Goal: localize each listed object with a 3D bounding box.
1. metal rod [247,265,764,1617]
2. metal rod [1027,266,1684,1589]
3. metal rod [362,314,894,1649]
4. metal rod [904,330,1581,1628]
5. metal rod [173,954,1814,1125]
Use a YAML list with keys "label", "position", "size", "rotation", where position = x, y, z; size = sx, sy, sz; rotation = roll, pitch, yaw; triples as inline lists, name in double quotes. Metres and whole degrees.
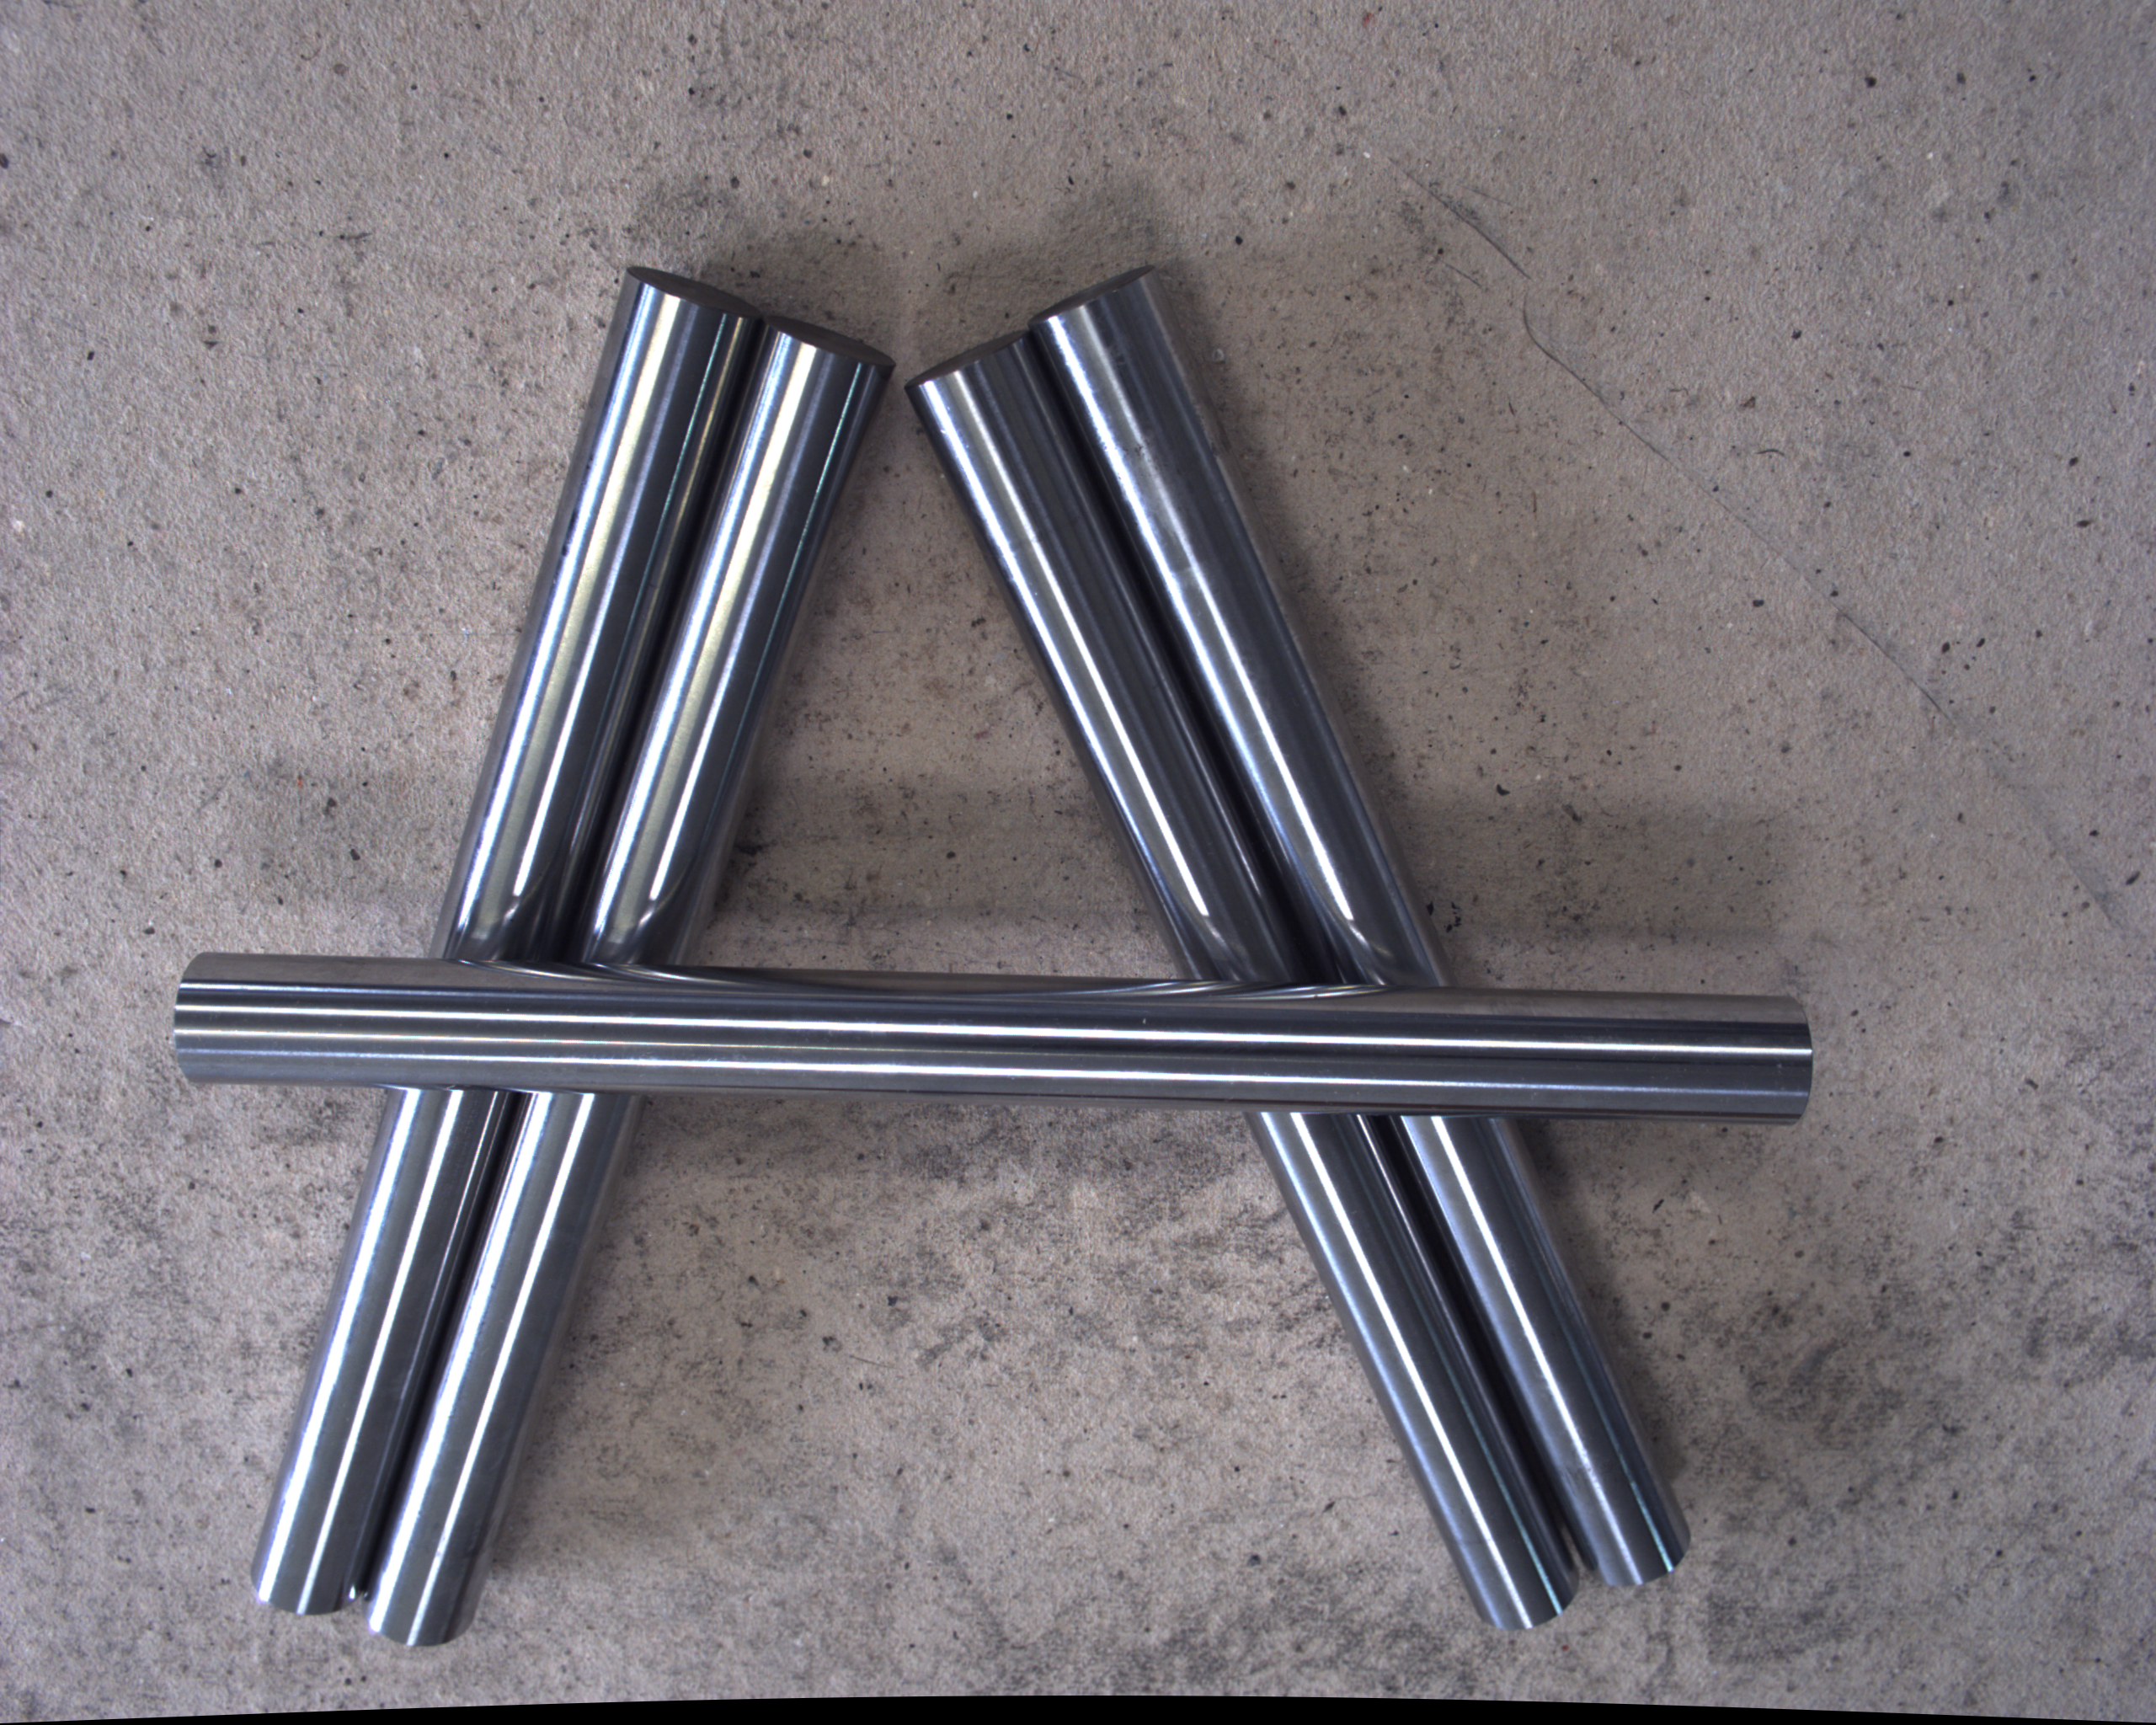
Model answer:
- label: "metal rod"
  position: [-0.121, 0.029, 0.420]
  size: [0.025, 0.025, 0.298]
  rotation: [19, 109, -7]
- label: "metal rod"
  position: [0.063, 0.026, 0.421]
  size: [0.025, 0.025, 0.299]
  rotation: [-23, 109, 8]
- label: "metal rod"
  position: [-0.097, 0.037, 0.423]
  size: [0.025, 0.025, 0.298]
  rotation: [19, 109, -7]
- label: "metal rod"
  position: [0.041, 0.036, 0.425]
  size: [0.025, 0.025, 0.299]
  rotation: [-23, 109, 8]
- label: "metal rod"
  position: [-0.015, 0.034, 0.396]
  size: [0.302, 0.025, 0.025]
  rotation: [2, 110, -1]
